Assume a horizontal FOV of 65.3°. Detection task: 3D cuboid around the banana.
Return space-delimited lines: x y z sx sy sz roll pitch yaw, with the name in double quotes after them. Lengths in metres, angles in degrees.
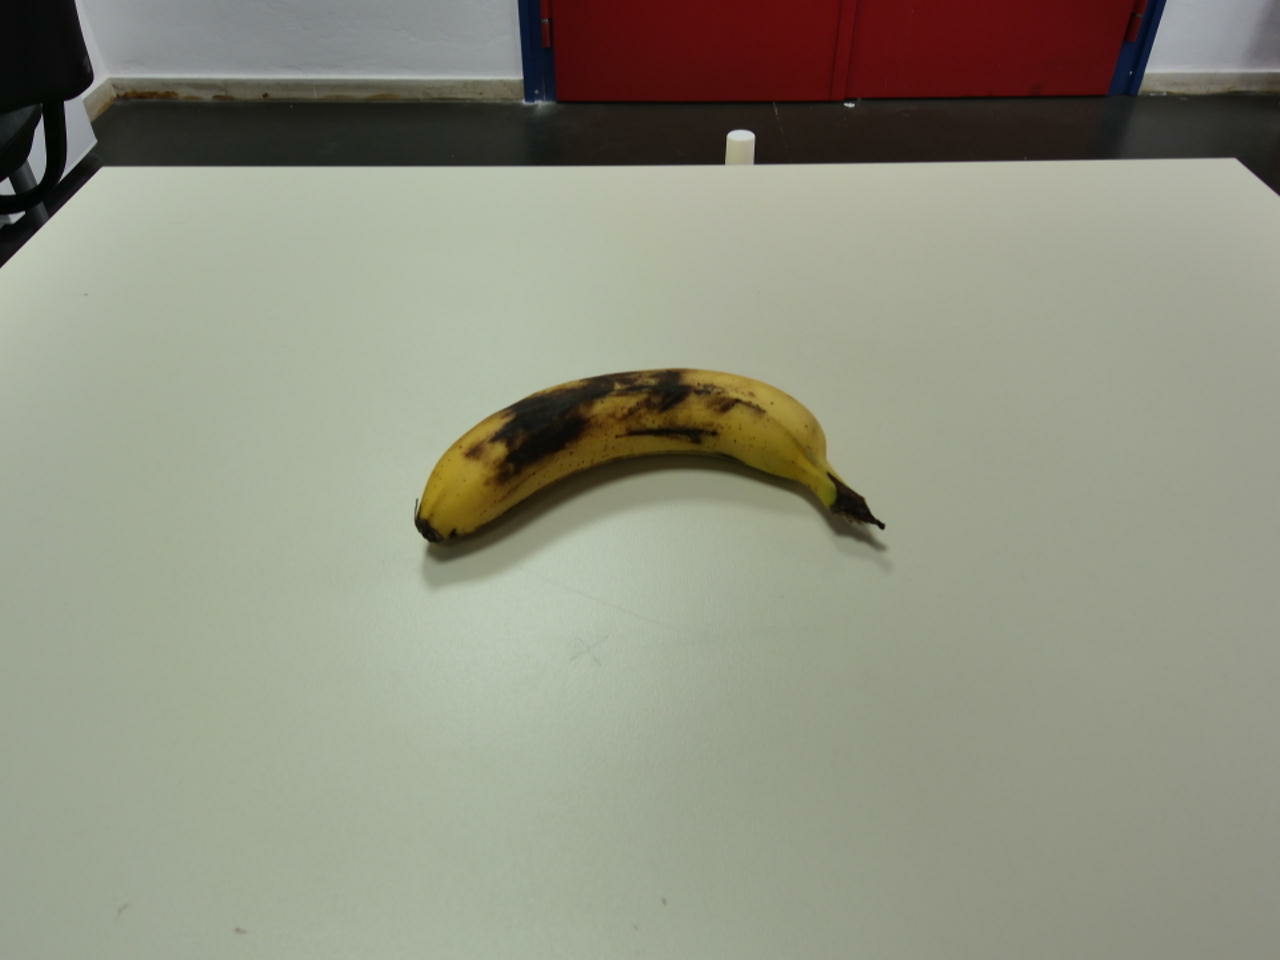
0.001 -0.014 0.431 0.187 0.039 0.094 -1 39 -2 "banana"
